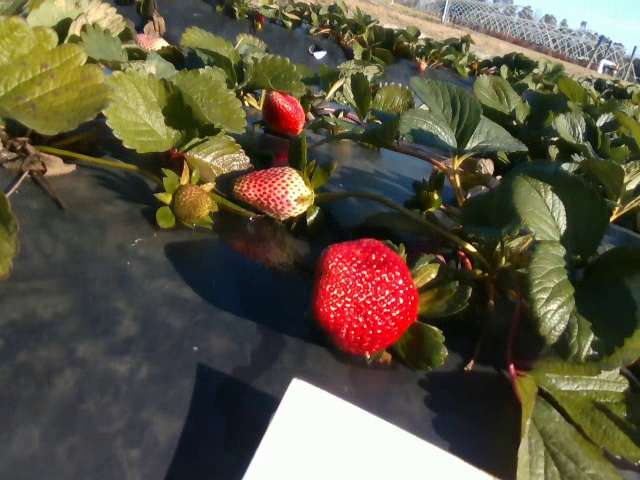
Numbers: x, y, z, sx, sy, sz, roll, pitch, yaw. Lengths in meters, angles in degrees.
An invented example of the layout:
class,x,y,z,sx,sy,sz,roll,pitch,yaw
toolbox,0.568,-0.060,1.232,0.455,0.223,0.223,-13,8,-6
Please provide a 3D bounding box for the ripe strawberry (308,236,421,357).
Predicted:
class,x,y,z,sx,sy,sz,roll,pitch,yaw
ripe strawberry,0.012,0.022,0.235,0.058,0.066,0.062,-28,-23,5
